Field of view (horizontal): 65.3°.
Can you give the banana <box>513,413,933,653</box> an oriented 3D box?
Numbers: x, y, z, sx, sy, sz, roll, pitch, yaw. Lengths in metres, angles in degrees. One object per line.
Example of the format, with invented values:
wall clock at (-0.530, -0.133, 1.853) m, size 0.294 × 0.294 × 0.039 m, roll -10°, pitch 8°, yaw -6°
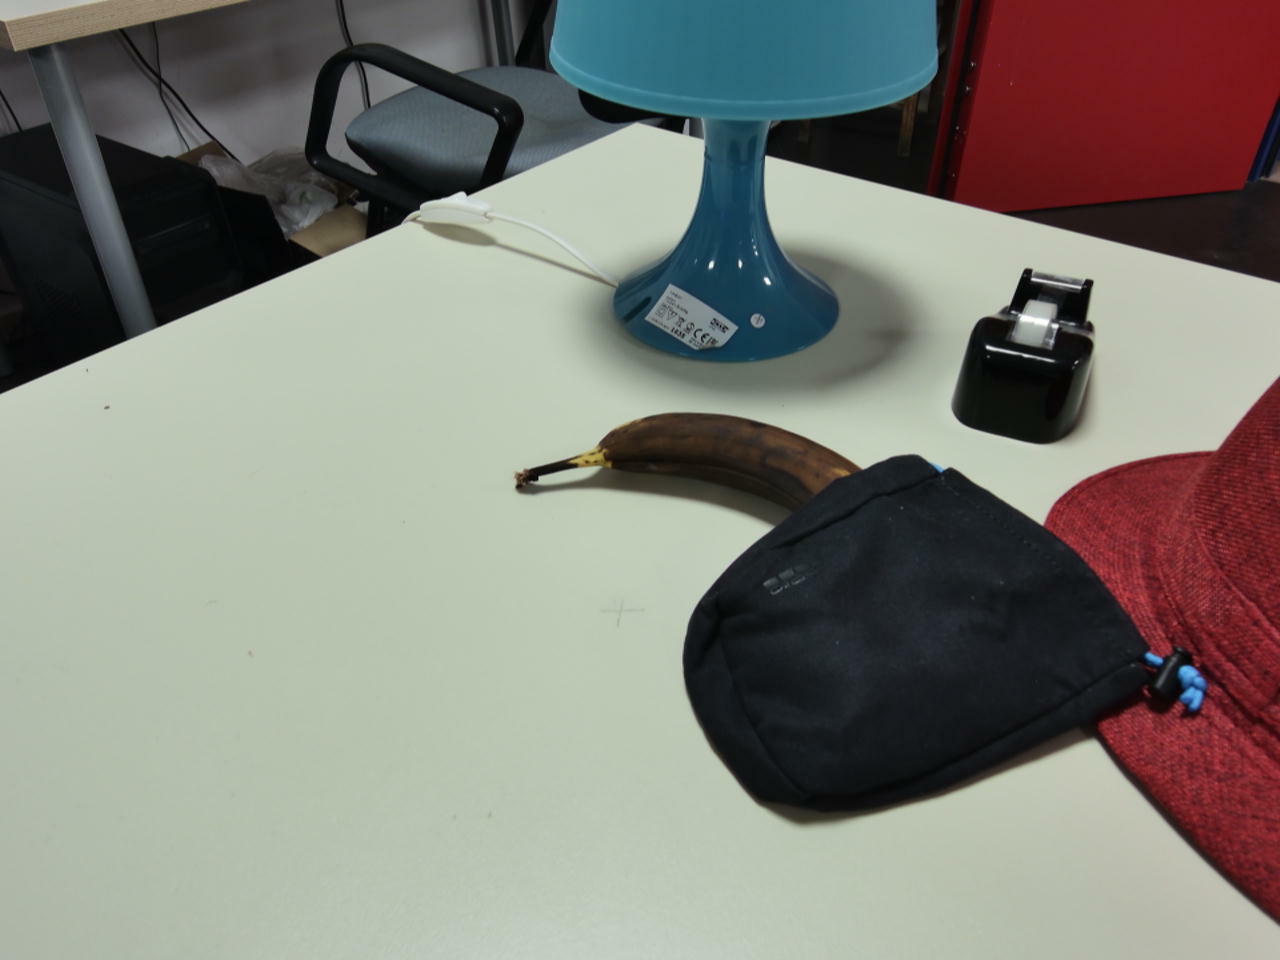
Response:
banana at (0.043, 0.005, 0.423) m, size 0.188 × 0.034 × 0.091 m, roll 26°, pitch 44°, yaw 32°
